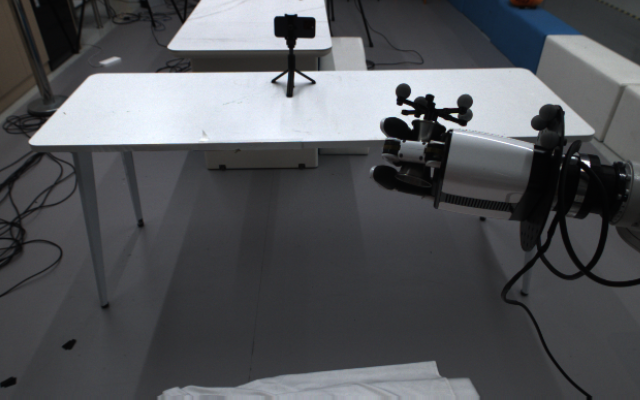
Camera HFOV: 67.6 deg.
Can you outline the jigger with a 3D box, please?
[{"bbox_3d":[0.119,-0.053,0.556,0.043,0.071,0.043,16,-7,2],"label":"jigger"}]
